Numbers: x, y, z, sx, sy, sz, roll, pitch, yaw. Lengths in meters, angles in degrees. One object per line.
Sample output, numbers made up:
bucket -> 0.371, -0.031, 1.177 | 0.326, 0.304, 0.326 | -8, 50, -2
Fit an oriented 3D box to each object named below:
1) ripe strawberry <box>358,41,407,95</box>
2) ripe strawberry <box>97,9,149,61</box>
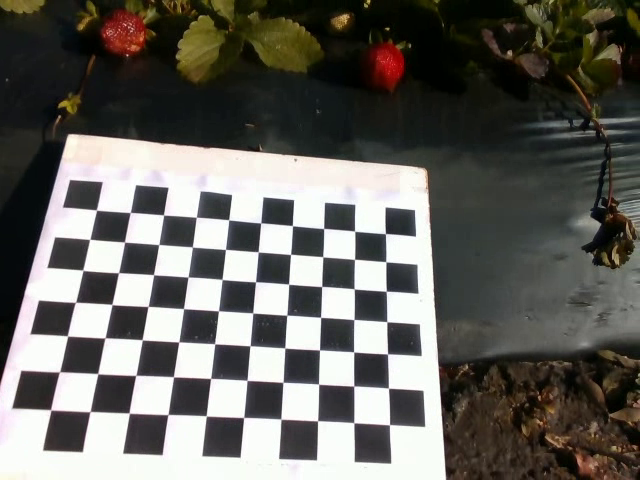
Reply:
ripe strawberry -> 0.047, -0.139, 0.473 | 0.042, 0.043, 0.050 | 37, 18, 7
ripe strawberry -> -0.158, -0.162, 0.467 | 0.041, 0.043, 0.053 | 16, 20, -3
